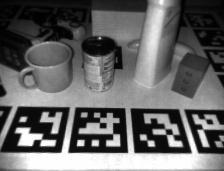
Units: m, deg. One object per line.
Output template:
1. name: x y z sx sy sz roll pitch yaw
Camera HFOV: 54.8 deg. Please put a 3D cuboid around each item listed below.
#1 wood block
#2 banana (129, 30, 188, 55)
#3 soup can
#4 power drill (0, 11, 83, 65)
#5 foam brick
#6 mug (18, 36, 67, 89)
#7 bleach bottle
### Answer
1. wood block: 0.037 -0.199 0.626 0.206 0.091 0.089 1 47 -4
2. banana: 0.117 -0.118 0.585 0.197 0.039 0.074 14 60 6
3. soup can: -0.042 -0.051 0.458 0.068 0.102 0.067 3 42 -2
4. power drill: -0.199 -0.133 0.572 0.183 0.057 0.188 25 48 15
5. foam brick: 0.161 -0.020 0.474 0.052 0.078 0.052 26 48 23
6. mug: -0.151 -0.040 0.460 0.092 0.082 0.118 36 57 25
7. bleach bottle: 0.085 -0.117 0.438 0.067 0.252 0.103 23 48 19
